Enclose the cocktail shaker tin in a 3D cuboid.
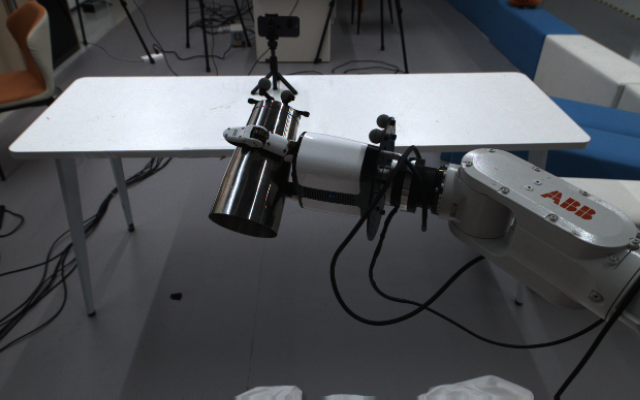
[{"bbox_3d":[-0.079,-0.043,0.647,0.093,0.093,0.170,10,71,12],"label":"cocktail shaker tin"}]
